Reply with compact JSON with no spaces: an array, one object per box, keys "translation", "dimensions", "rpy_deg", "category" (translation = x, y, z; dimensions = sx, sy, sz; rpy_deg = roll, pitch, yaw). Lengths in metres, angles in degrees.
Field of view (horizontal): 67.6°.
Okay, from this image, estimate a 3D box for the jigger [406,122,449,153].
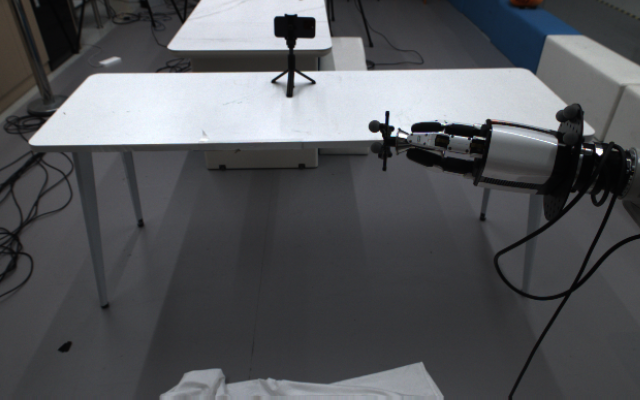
[{"translation":[0.154,-0.089,0.707],"dimensions":[0.071,0.043,0.043],"rpy_deg":[4,34,18],"category":"jigger"}]
